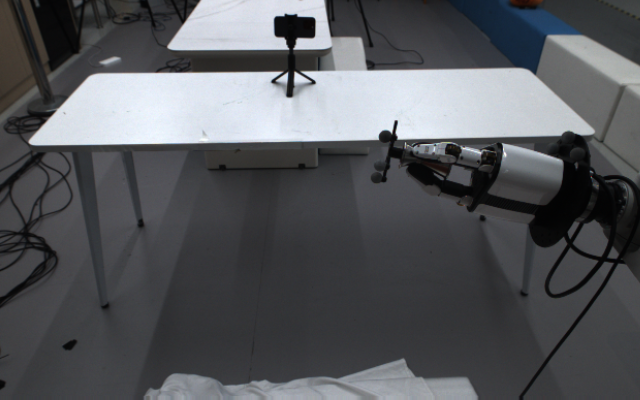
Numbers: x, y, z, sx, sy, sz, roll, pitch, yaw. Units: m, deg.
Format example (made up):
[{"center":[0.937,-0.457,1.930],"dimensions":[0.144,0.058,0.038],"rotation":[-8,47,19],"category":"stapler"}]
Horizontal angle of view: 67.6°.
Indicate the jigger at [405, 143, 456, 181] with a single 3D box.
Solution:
[{"center":[0.154,-0.061,0.679],"dimensions":[0.071,0.043,0.043],"rotation":[13,36,3],"category":"jigger"}]
